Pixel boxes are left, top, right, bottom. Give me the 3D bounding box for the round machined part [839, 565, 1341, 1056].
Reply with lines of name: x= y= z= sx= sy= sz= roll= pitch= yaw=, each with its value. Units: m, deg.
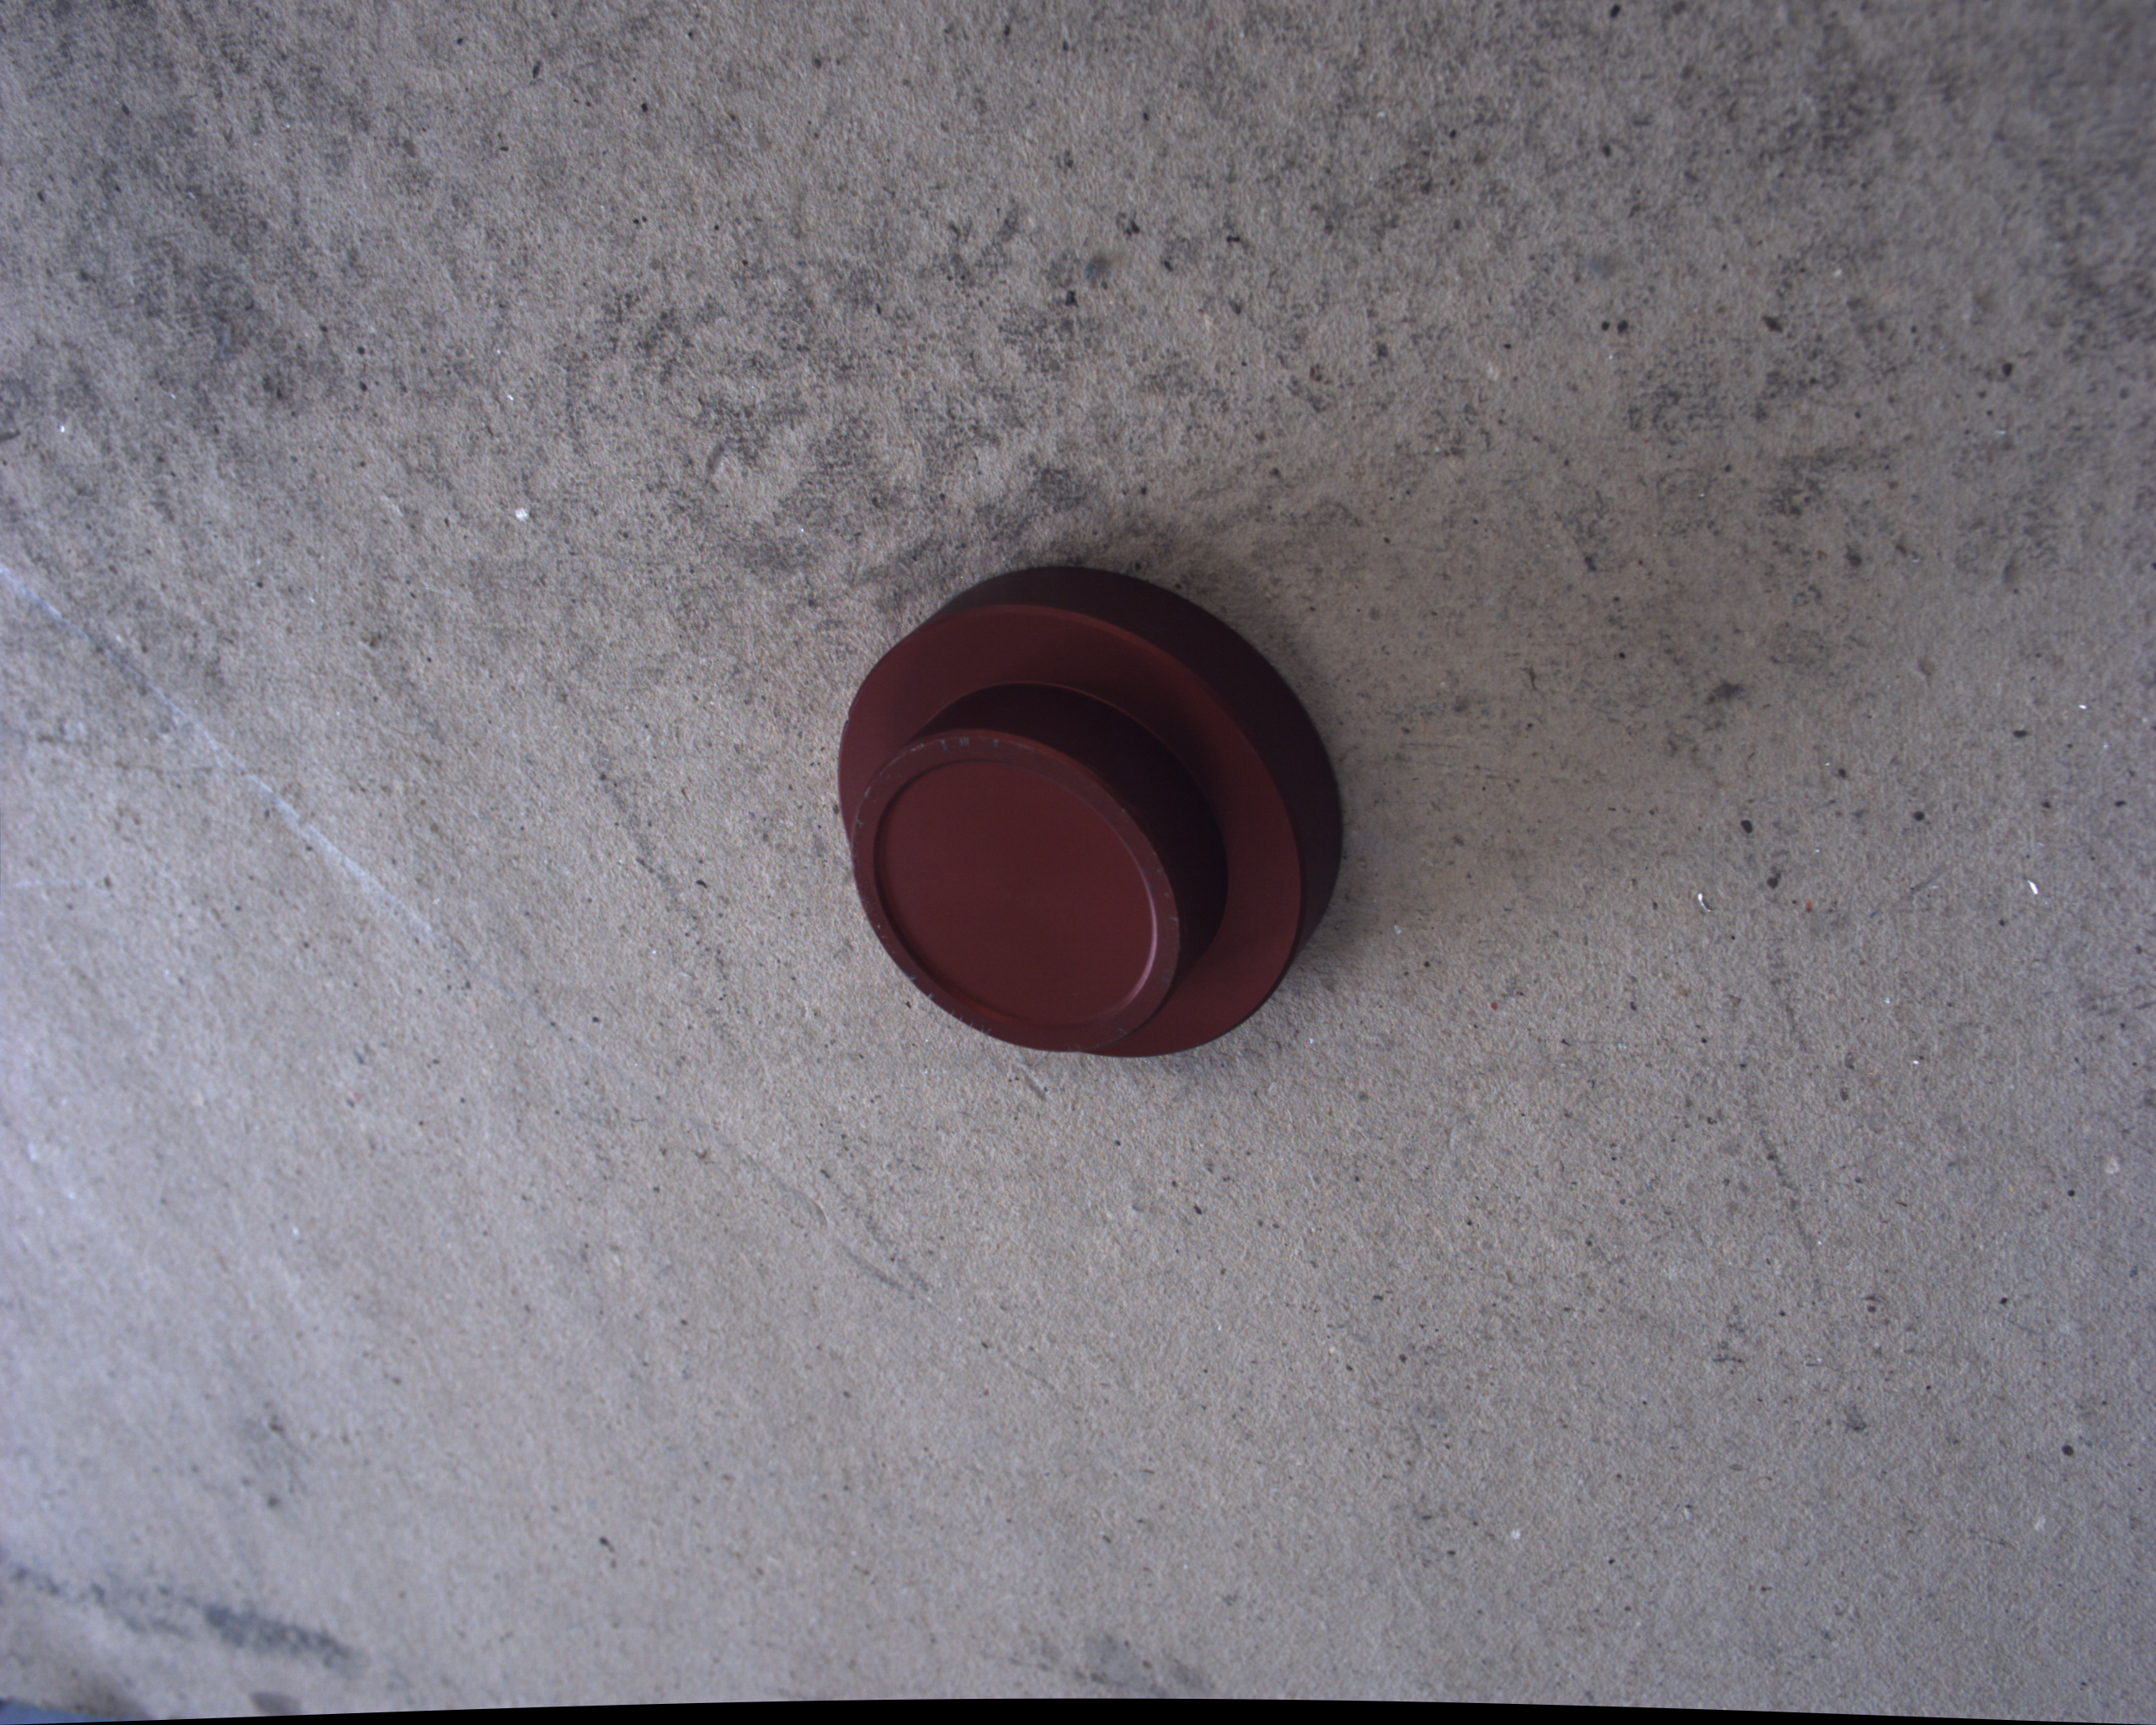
round machined part: x=-0.003 y=-0.004 z=0.398 sx=0.098 sy=0.042 sz=0.097 roll=13 pitch=124 yaw=21
